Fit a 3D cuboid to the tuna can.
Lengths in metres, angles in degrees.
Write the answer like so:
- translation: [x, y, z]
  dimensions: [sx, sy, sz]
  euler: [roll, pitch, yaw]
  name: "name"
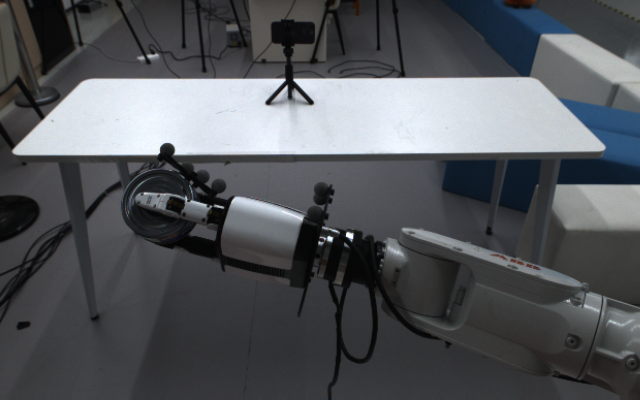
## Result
- translation: [-0.185, 0.007, 0.570]
  dimensions: [0.085, 0.034, 0.085]
  euler: [0, 74, -1]
  name: "tuna can"
